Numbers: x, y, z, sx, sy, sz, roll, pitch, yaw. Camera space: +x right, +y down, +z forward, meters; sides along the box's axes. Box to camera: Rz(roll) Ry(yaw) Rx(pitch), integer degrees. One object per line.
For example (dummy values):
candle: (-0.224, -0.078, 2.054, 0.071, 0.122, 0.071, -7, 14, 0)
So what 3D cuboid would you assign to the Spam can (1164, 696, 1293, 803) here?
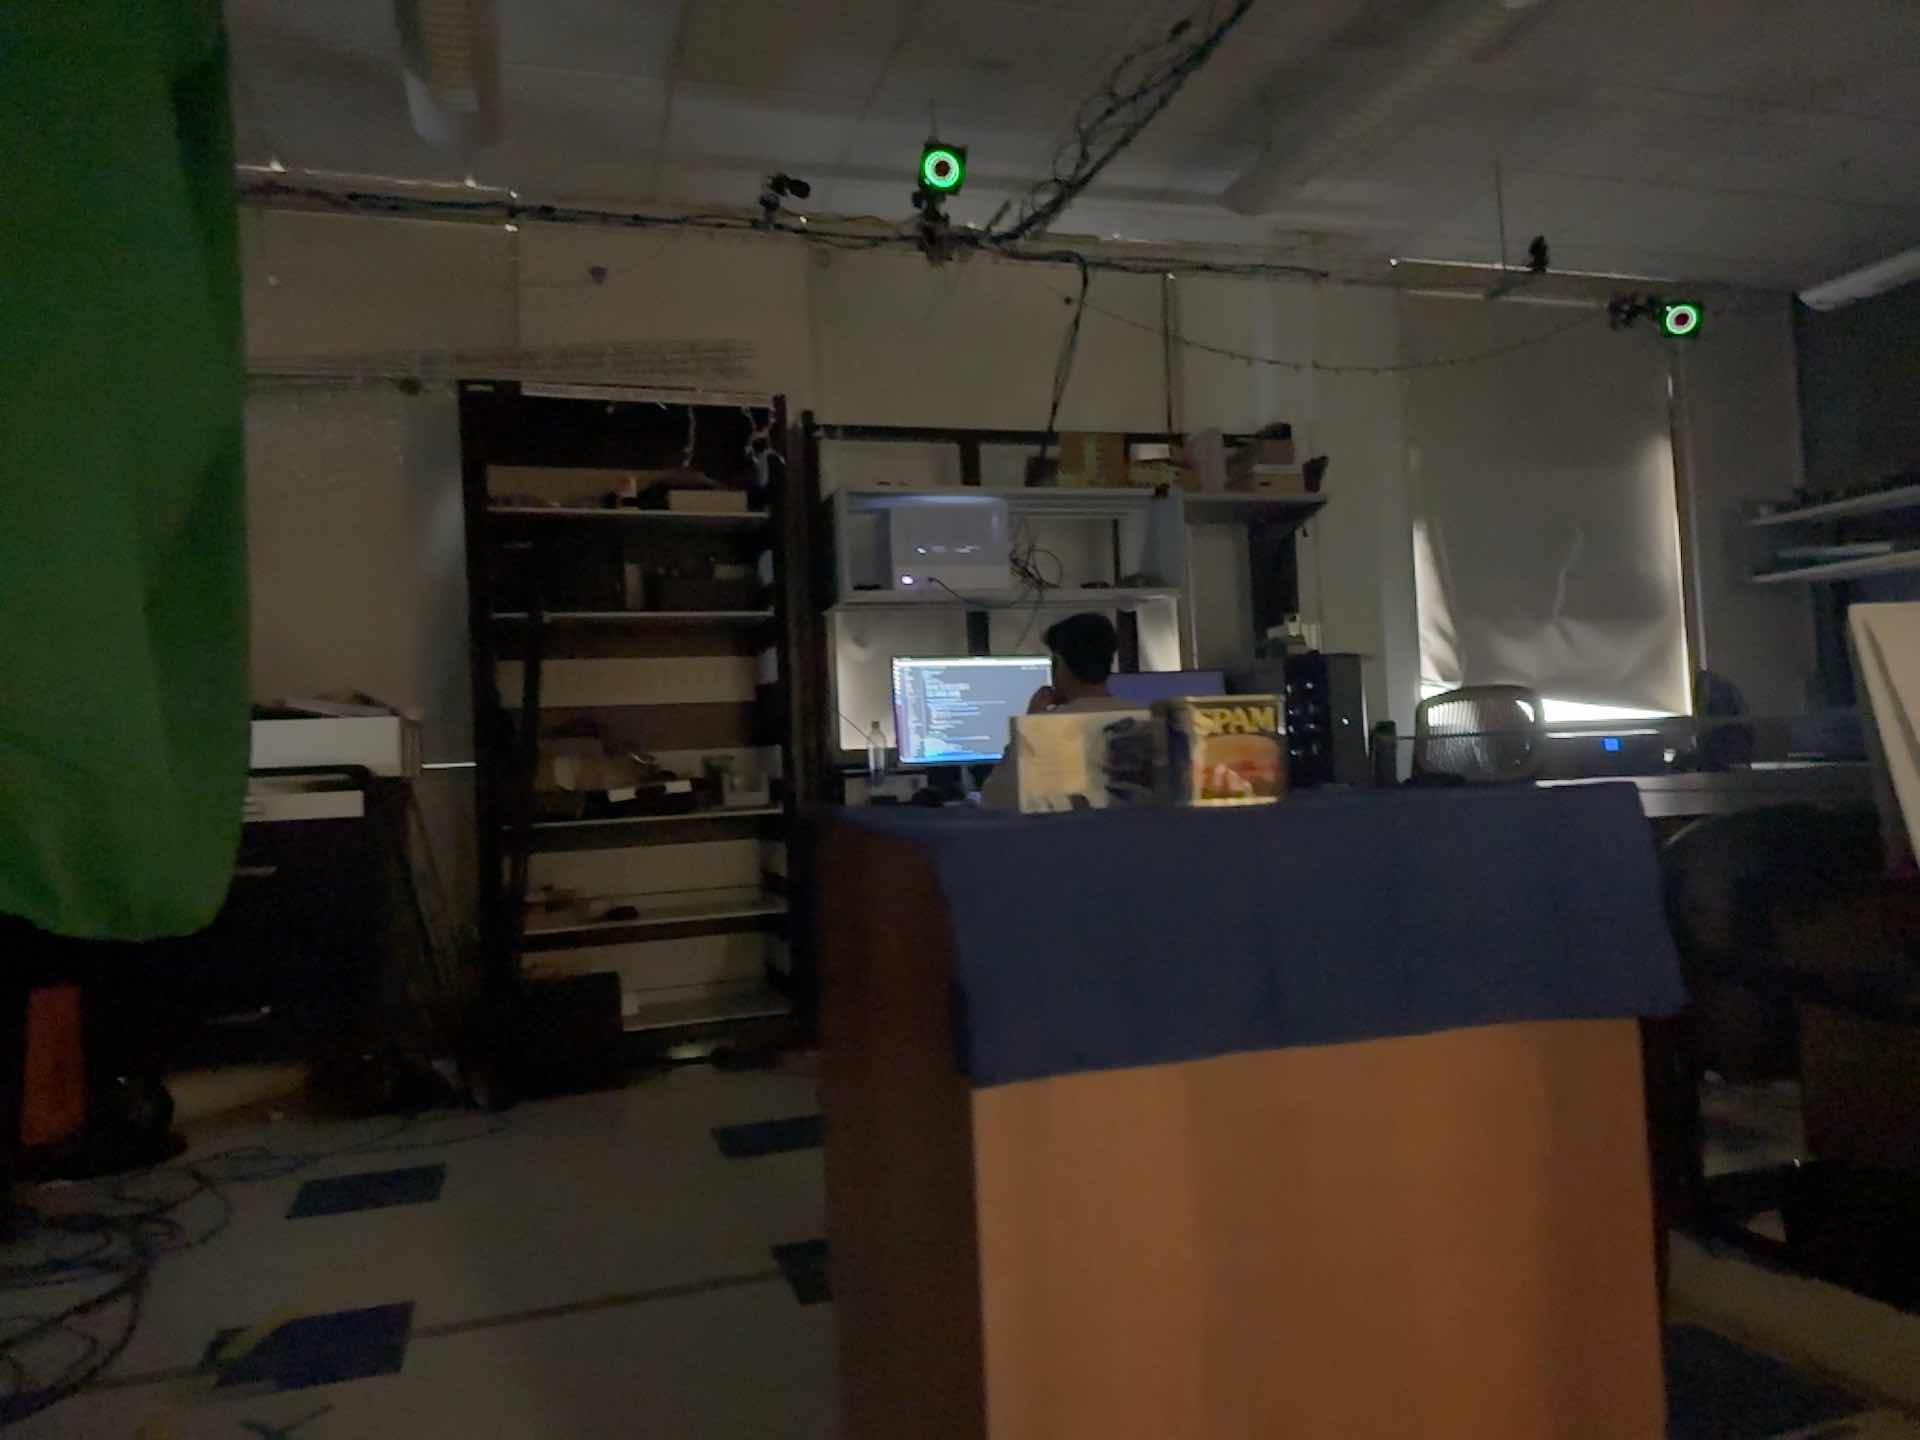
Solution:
Spam can: (0.222, 0.024, 1.108, 0.100, 0.083, 0.056, 0, -4, -15)

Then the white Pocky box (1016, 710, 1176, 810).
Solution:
white Pocky box: (0.129, 0.034, 1.193, 0.154, 0.084, 0.028, -2, -3, -6)
